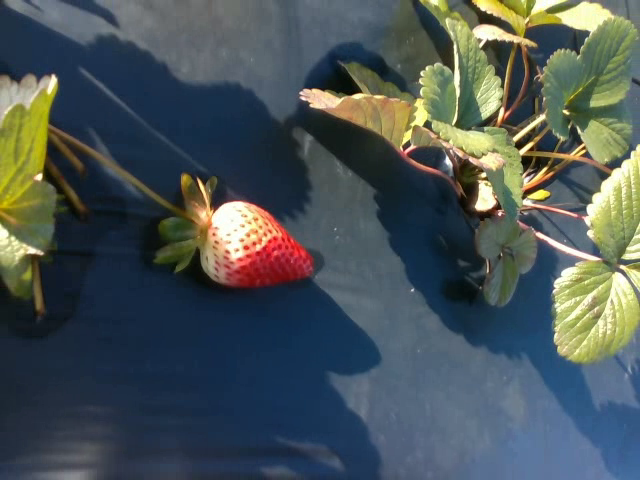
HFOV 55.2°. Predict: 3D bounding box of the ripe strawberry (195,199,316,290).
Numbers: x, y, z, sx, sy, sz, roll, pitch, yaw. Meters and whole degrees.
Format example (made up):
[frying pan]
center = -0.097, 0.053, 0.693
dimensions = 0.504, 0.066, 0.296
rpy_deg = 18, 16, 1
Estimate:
[ripe strawberry]
center = -0.023, 0.004, 0.253
dimensions = 0.063, 0.045, 0.044
rpy_deg = 17, 36, -20
